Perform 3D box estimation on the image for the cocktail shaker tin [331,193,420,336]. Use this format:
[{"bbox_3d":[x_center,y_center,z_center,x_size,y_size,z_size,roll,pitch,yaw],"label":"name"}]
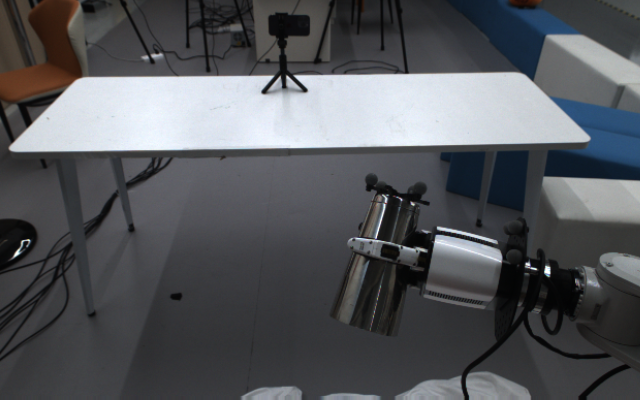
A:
[{"bbox_3d":[0.079,0.082,0.641,0.093,0.170,0.093,16,-6,2],"label":"cocktail shaker tin"}]
